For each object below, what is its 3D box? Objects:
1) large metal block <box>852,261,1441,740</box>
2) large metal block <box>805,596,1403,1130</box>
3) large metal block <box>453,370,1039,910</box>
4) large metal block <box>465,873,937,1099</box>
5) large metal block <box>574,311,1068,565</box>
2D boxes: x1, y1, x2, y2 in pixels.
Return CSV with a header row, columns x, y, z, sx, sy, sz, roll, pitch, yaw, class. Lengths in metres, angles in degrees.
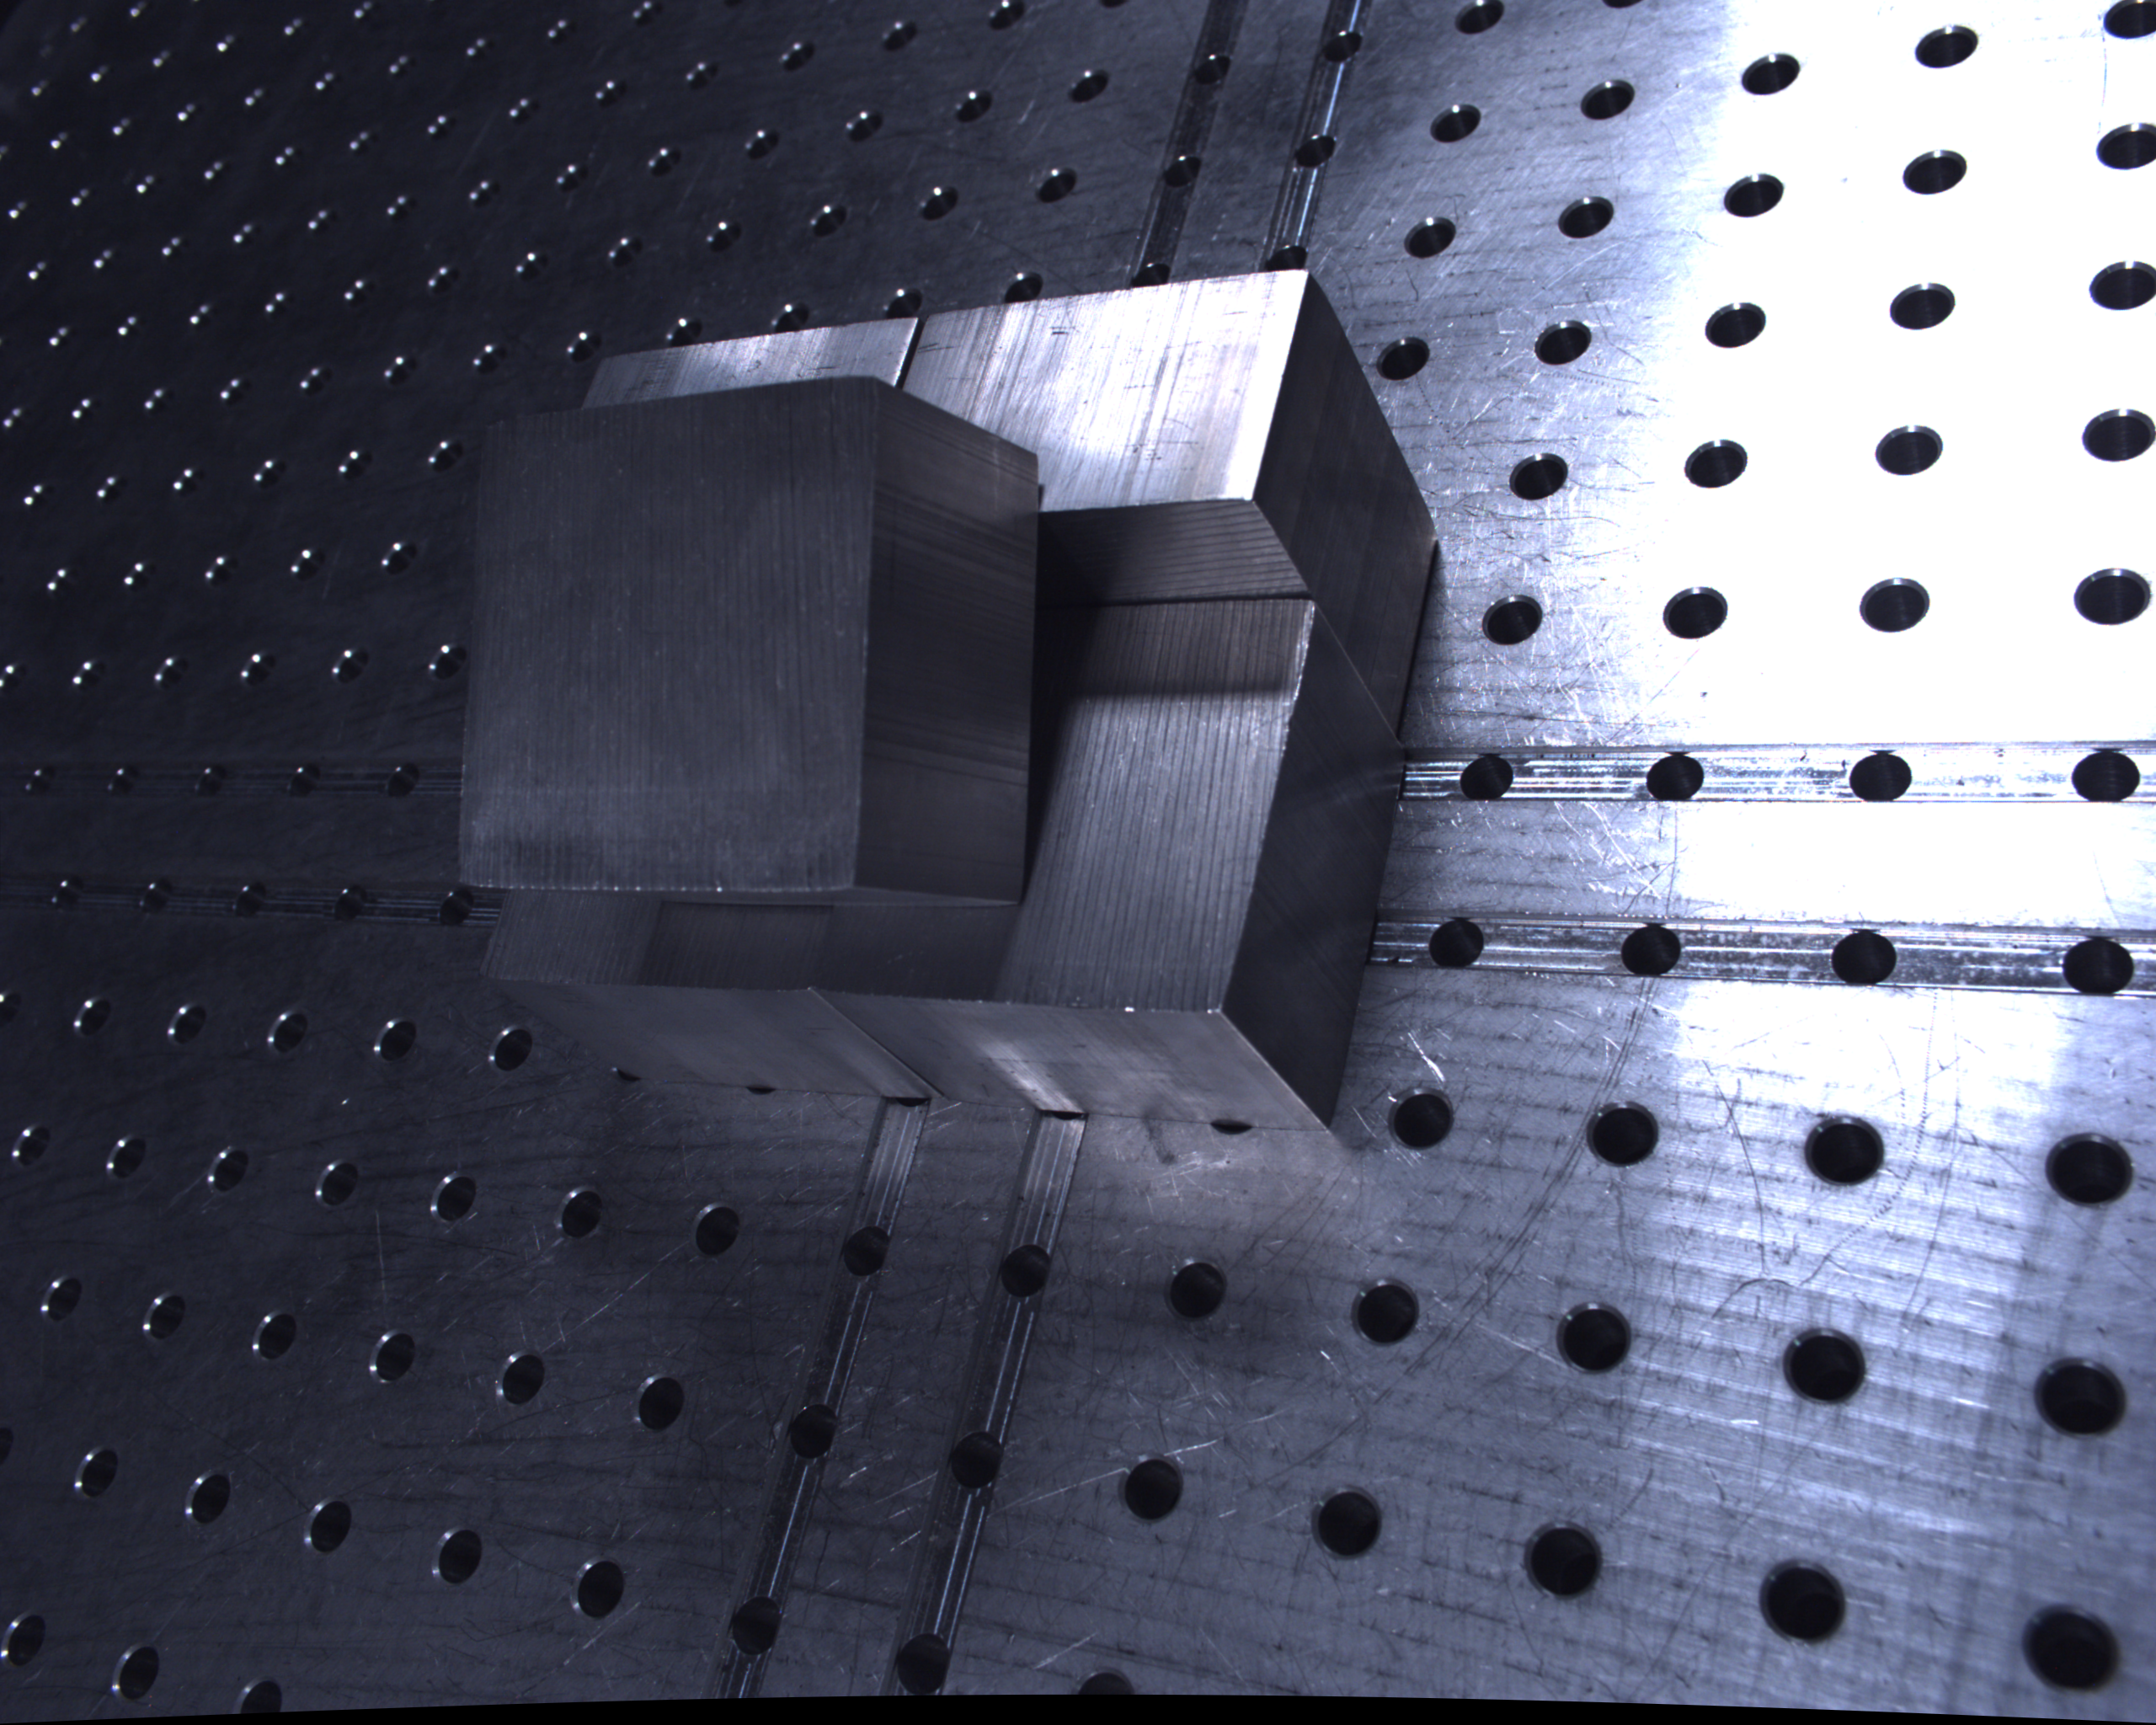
x,y,z,sx,sy,sz,roll,pitch,yaw,class
0.016,-0.064,0.402,0.080,0.080,0.050,1,62,28,large metal block
0.007,0.000,0.384,0.080,0.050,0.080,1,62,28,large metal block
-0.056,-0.034,0.355,0.080,0.050,0.080,0,86,28,large metal block
-0.064,-0.001,0.422,0.080,0.050,0.080,1,62,28,large metal block
-0.055,-0.066,0.439,0.080,0.080,0.050,1,62,28,large metal block
